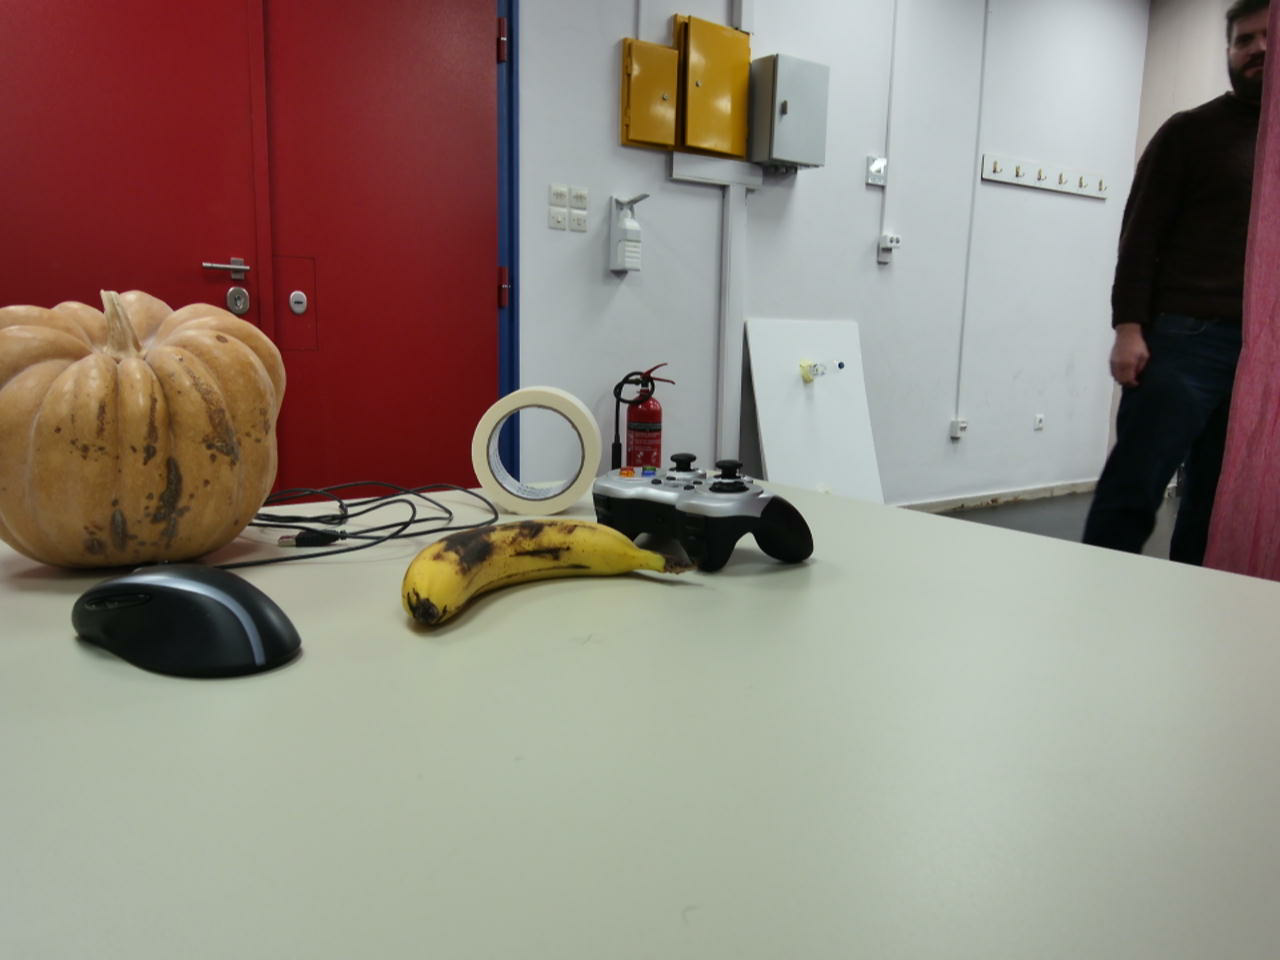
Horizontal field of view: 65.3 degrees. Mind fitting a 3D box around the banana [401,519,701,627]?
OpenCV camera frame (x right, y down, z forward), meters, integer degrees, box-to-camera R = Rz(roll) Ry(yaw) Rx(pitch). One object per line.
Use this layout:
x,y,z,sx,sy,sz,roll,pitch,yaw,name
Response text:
-0.066,0.049,0.594,0.187,0.039,0.094,-6,9,-38,banana
